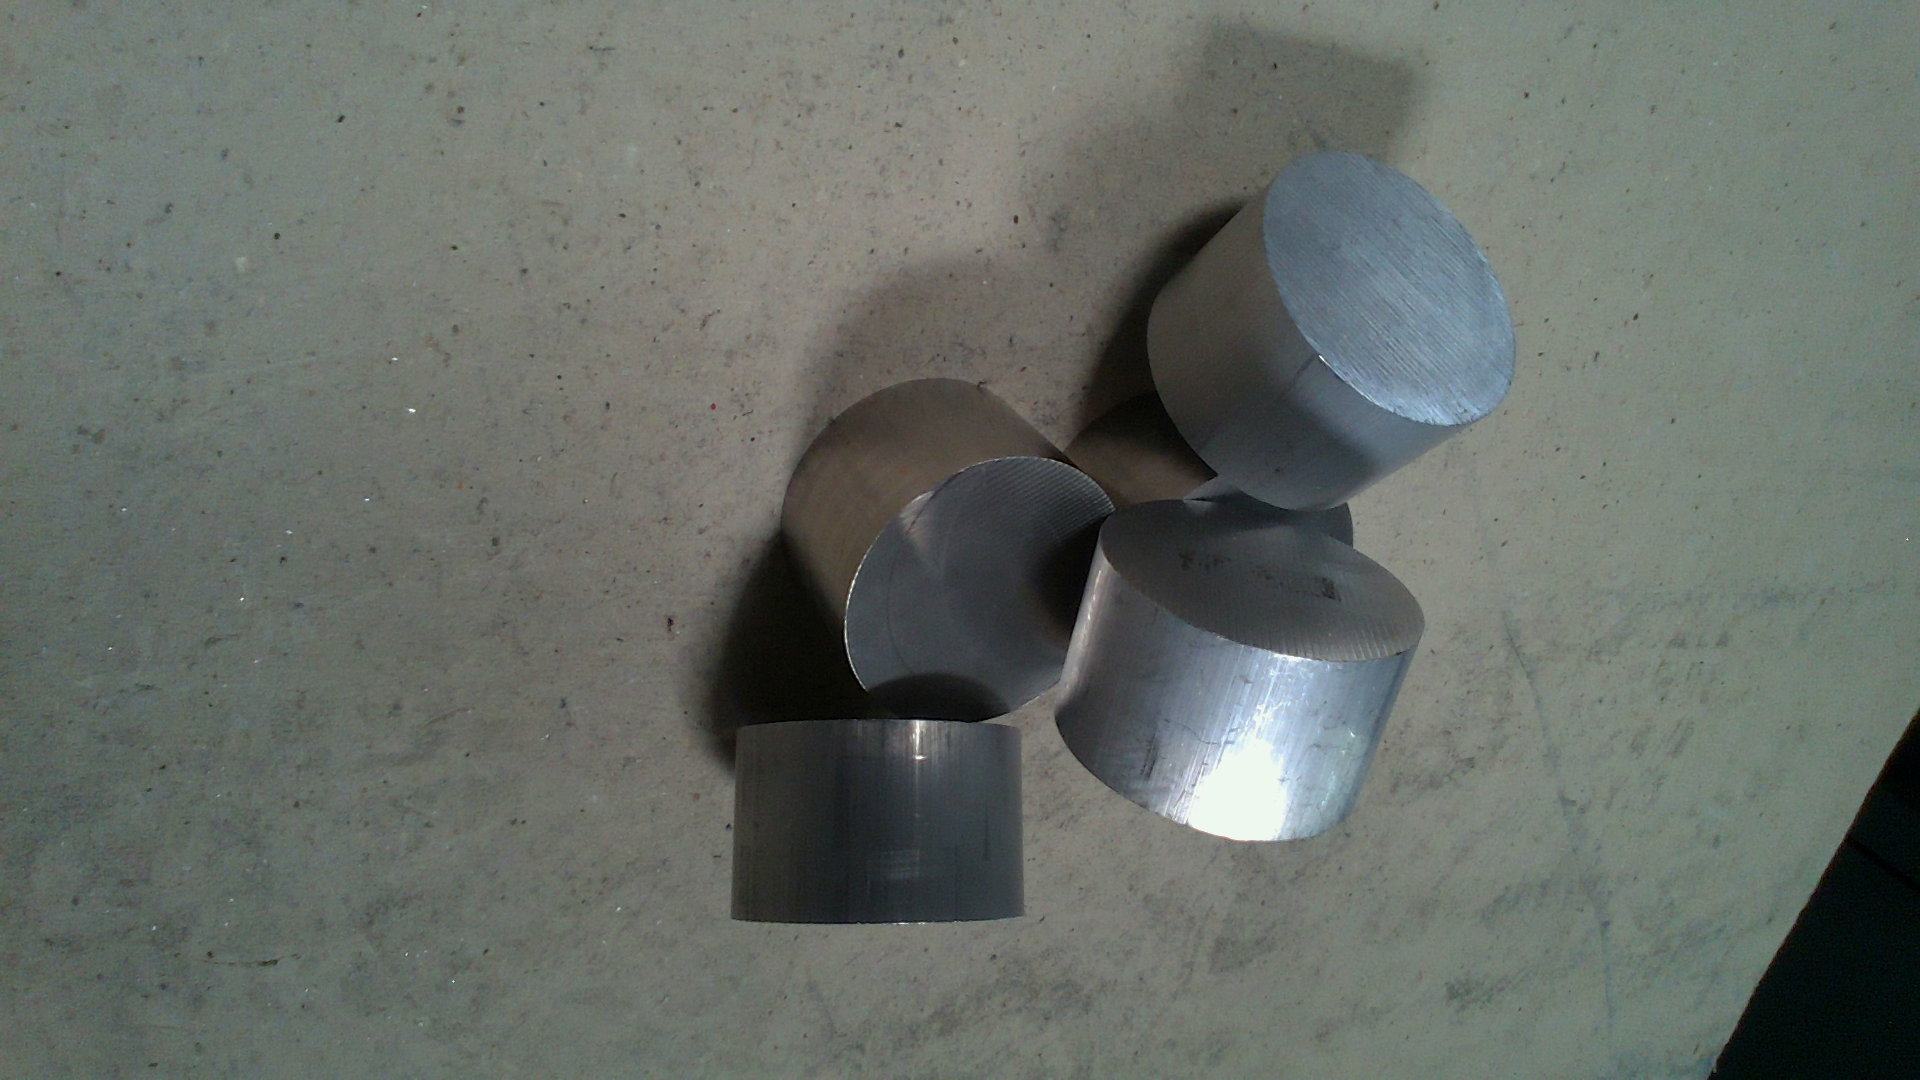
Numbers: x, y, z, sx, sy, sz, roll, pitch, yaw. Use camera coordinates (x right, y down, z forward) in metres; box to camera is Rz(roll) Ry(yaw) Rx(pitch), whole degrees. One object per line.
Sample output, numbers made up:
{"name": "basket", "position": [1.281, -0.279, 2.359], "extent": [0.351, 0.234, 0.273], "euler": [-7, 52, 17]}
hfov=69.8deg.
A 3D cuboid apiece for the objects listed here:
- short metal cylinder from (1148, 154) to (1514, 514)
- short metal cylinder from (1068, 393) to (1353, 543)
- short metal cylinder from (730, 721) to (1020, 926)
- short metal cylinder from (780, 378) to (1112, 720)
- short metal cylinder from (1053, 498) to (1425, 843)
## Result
{"name": "short metal cylinder", "position": [0.098, -0.054, 0.365], "extent": [0.080, 0.080, 0.050], "euler": [0, 156, -29]}
{"name": "short metal cylinder", "position": [0.069, 0.002, 0.411], "extent": [0.080, 0.050, 0.080], "euler": [-14, 124, -21]}
{"name": "short metal cylinder", "position": [-0.023, 0.079, 0.381], "extent": [0.080, 0.080, 0.050], "euler": [7, 76, -32]}
{"name": "short metal cylinder", "position": [-0.003, 0.003, 0.373], "extent": [0.080, 0.050, 0.080], "euler": [-14, 124, -21]}
{"name": "short metal cylinder", "position": [0.068, 0.030, 0.344], "extent": [0.080, 0.080, 0.050], "euler": [-2, 119, -28]}
